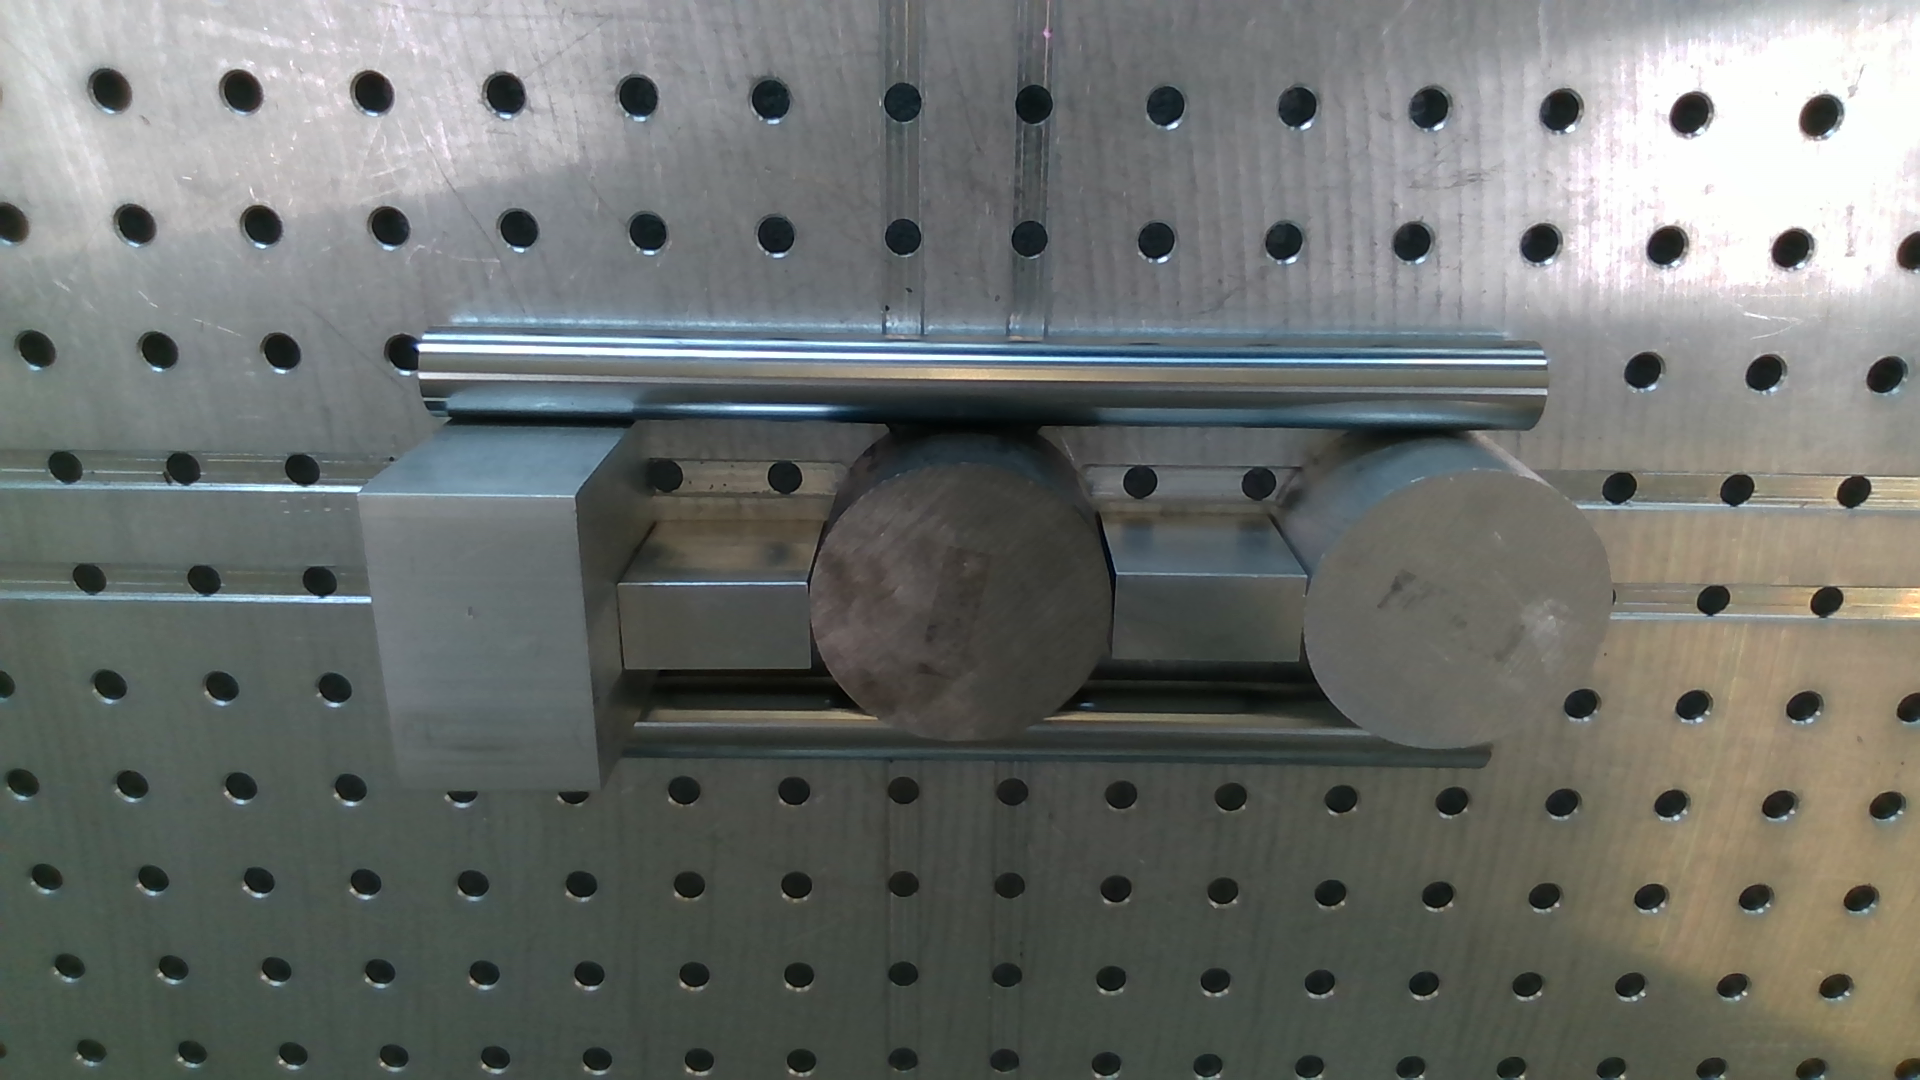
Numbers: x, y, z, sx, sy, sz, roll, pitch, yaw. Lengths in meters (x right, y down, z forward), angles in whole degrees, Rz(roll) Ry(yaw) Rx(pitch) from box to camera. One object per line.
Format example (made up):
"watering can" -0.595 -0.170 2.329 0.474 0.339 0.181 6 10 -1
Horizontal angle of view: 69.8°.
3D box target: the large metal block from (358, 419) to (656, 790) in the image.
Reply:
"large metal block" -0.115 0.012 0.371 0.050 0.080 0.080 1 110 0

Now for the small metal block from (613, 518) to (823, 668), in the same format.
"small metal block" -0.066 0.014 0.387 0.050 0.050 0.025 0 110 0

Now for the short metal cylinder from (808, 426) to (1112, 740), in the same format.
"short metal cylinder" 0.000 0.009 0.386 0.080 0.050 0.080 0 110 0

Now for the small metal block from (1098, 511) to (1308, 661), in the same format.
"small metal block" 0.065 0.012 0.386 0.050 0.050 0.025 1 110 0

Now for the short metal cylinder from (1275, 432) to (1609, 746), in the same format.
"short metal cylinder" 0.131 0.010 0.386 0.080 0.050 0.080 0 110 0

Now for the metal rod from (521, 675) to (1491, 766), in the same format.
"metal rod" 0.006 0.054 0.415 0.300 0.025 0.025 1 110 0

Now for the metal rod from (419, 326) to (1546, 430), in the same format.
"metal rod" 0.006 -0.044 0.379 0.300 0.025 0.025 1 110 0
